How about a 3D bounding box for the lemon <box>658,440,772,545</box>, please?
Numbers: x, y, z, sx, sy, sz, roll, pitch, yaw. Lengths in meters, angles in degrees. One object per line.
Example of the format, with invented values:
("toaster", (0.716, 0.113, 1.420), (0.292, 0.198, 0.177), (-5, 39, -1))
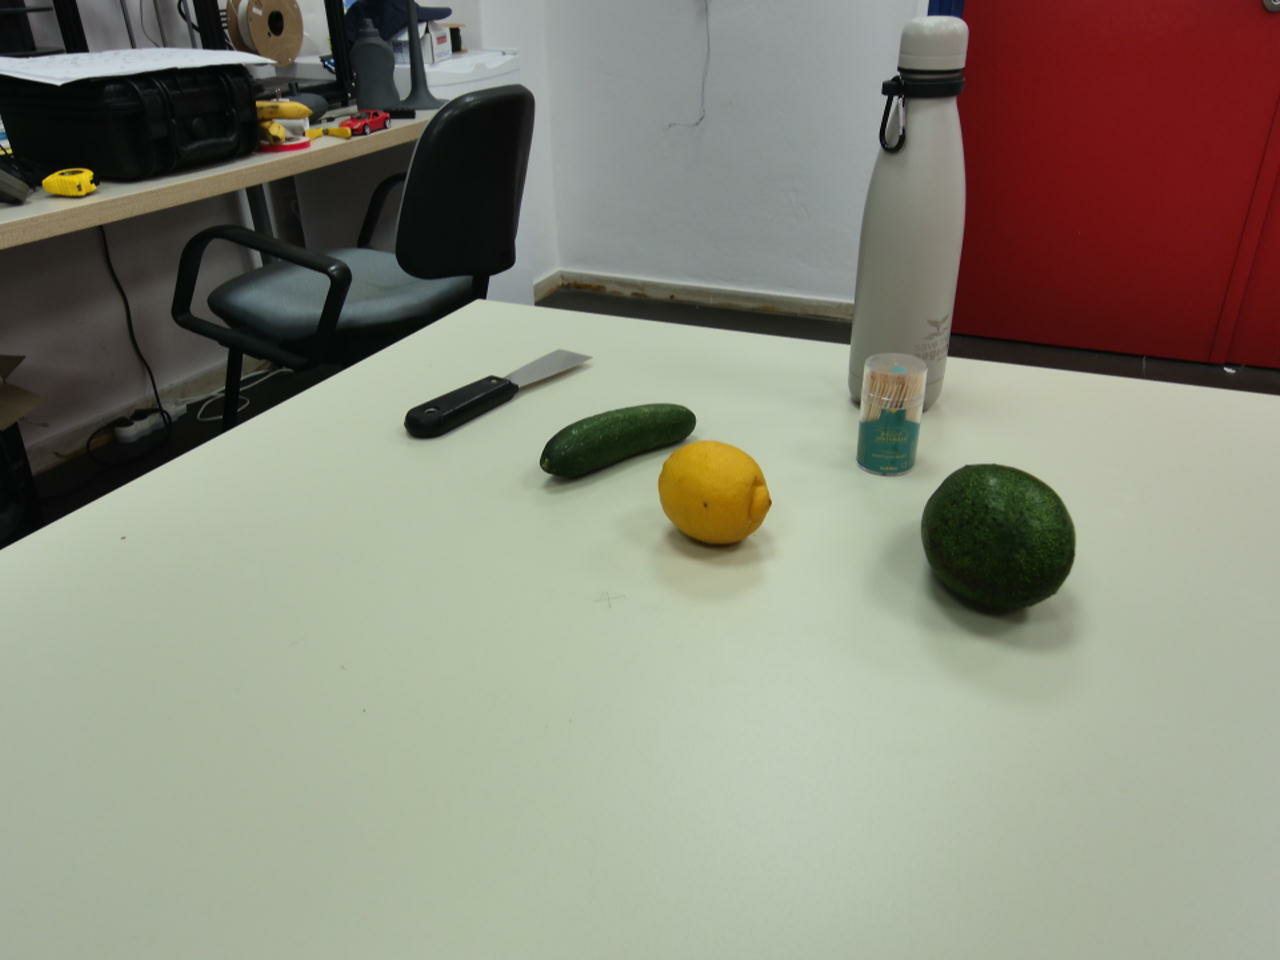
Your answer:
("lemon", (0.043, 0.008, 0.594), (0.061, 0.059, 0.067), (-10, 28, -21))
